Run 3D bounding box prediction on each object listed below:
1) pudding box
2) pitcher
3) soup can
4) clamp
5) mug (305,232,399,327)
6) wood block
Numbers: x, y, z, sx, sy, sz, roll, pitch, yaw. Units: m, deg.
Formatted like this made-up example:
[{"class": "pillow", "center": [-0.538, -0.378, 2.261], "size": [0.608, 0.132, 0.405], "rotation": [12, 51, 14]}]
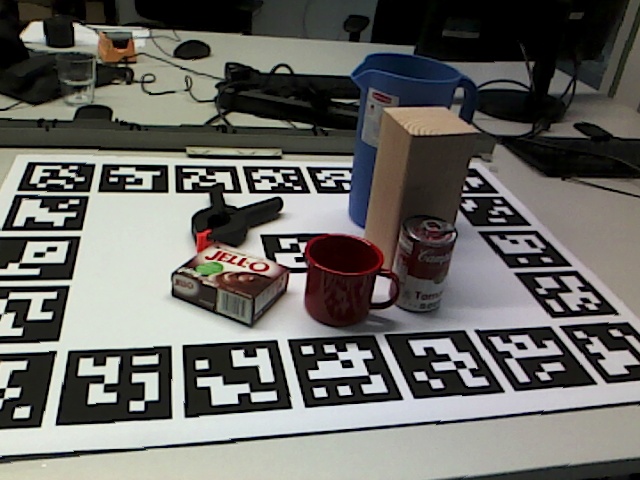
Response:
[{"class": "pudding box", "center": [-0.114, 0.050, 0.746], "size": [0.114, 0.038, 0.090], "rotation": [18, 35, 20]}, {"class": "pitcher", "center": [0.127, -0.138, 0.908], "size": [0.188, 0.242, 0.134], "rotation": [-4, 30, -12]}, {"class": "soup can", "center": [0.123, 0.030, 0.756], "size": [0.068, 0.102, 0.068], "rotation": [5, 33, -4]}, {"class": "clamp", "center": [-0.127, -0.029, 0.888], "size": [0.122, 0.036, 0.165], "rotation": [20, 33, 8]}, {"class": "mug", "center": [0.036, 0.051, 0.725], "size": [0.118, 0.081, 0.093], "rotation": [17, 29, 19]}, {"class": "wood block", "center": [0.127, -0.062, 0.808], "size": [0.089, 0.206, 0.091], "rotation": [0, 31, -18]}]
